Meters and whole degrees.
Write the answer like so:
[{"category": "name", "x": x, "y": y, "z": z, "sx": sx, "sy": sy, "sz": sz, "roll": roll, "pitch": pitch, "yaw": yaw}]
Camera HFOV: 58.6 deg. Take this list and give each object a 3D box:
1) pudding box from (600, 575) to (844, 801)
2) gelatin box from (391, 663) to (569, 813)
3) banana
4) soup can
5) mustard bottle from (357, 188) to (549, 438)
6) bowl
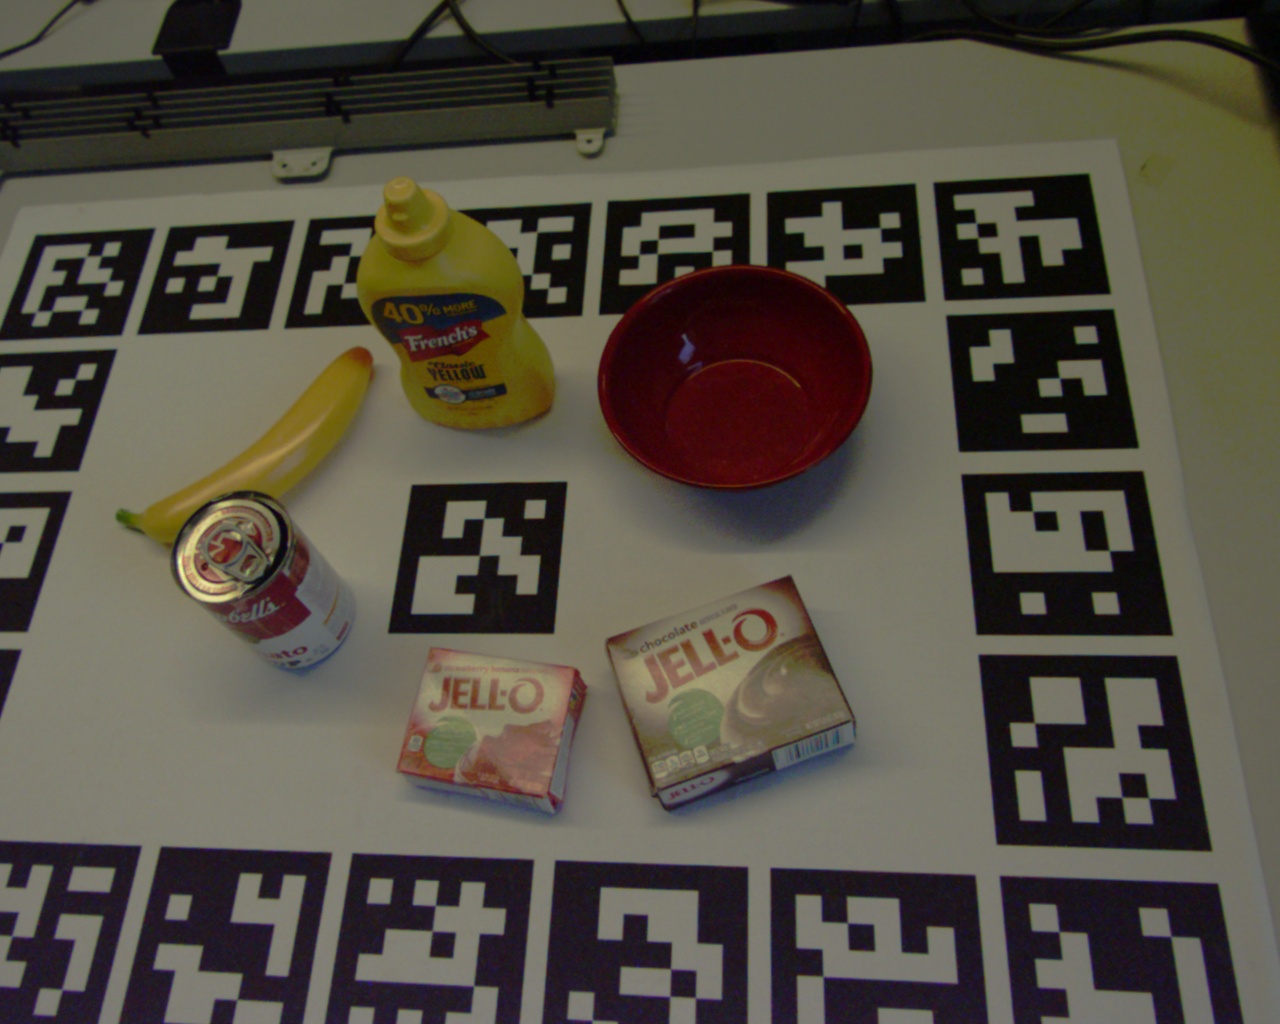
[{"category": "pudding box", "x": 0.045, "y": 0.100, "z": 0.646, "sx": 0.114, "sy": 0.038, "sz": 0.090, "roll": -22, "pitch": 66, "yaw": -3}, {"category": "gelatin box", "x": -0.091, "y": 0.129, "z": 0.658, "sx": 0.090, "sy": 0.030, "sz": 0.073, "roll": 5, "pitch": 66, "yaw": 12}, {"category": "banana", "x": -0.255, "y": -0.040, "z": 0.773, "sx": 0.196, "sy": 0.038, "sz": 0.075, "roll": -43, "pitch": 54, "yaw": -15}, {"category": "soup can", "x": -0.224, "y": 0.039, "z": 0.678, "sx": 0.068, "sy": 0.101, "sz": 0.068, "roll": -3, "pitch": 60, "yaw": 4}, {"category": "mustard bottle", "x": -0.118, "y": -0.120, "z": 0.694, "sx": 0.096, "sy": 0.190, "sz": 0.058, "roll": 0, "pitch": 59, "yaw": 8}, {"category": "bowl", "x": 0.060, "y": -0.069, "z": 0.731, "sx": 0.162, "sy": 0.055, "sz": 0.162, "roll": -5, "pitch": 60, "yaw": 8}]
